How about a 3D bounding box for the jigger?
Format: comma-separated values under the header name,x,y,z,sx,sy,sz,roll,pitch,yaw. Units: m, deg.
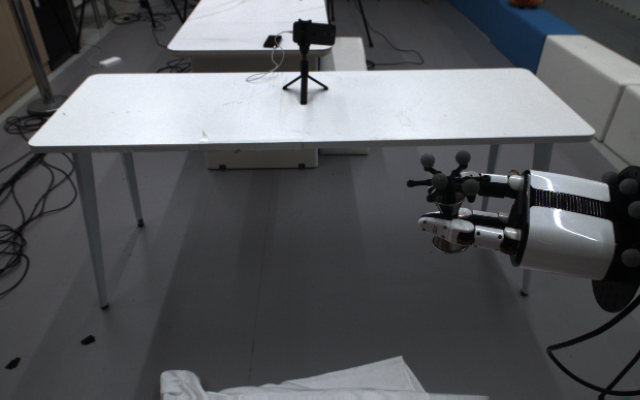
name,x,y,z,sx,sy,sz,roll,pitch,yaw
jigger,0.152,0.020,0.568,0.043,0.071,0.043,-9,31,5
